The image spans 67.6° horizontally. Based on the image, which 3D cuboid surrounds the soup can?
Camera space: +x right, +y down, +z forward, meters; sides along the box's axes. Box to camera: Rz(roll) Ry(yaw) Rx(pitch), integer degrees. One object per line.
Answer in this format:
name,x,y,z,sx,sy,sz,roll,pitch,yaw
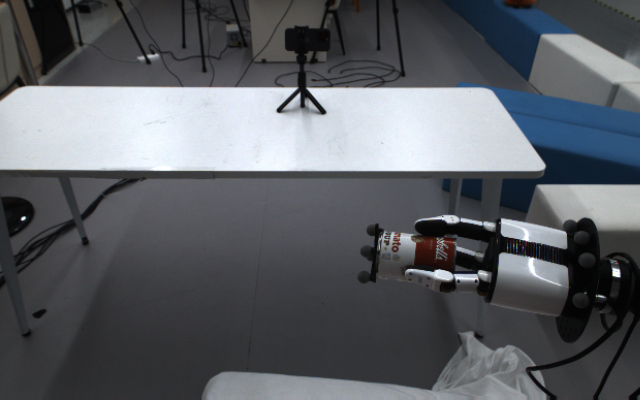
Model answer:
soup can,0.134,0.079,0.661,0.101,0.067,0.067,5,34,13
